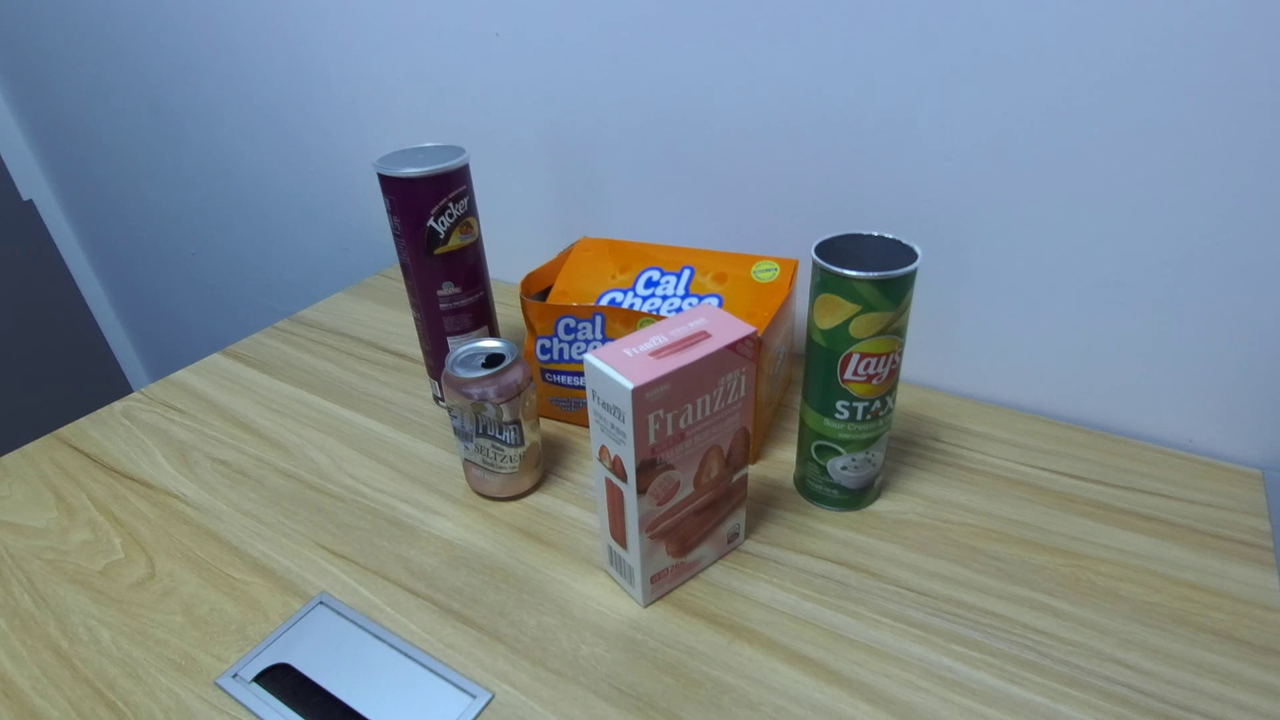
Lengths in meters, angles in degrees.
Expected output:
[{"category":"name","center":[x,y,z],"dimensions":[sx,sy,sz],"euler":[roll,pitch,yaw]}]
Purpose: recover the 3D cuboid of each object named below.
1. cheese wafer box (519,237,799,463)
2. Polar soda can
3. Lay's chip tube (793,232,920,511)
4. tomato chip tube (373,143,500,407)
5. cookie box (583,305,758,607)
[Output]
[{"category":"cheese wafer box","center":[0.017,-0.017,0.647],"dimensions":[0.229,0.132,0.152],"euler":[11,37,21]},{"category":"Polar soda can","center":[-0.114,0.050,0.564],"dimensions":[0.067,0.122,0.074],"euler":[-15,31,-16]},{"category":"Lay's chip tube","center":[0.153,0.013,0.511],"dimensions":[0.071,0.203,0.071],"euler":[-3,33,2]},{"category":"tomato chip tube","center":[-0.177,-0.070,0.651],"dimensions":[0.078,0.234,0.078],"euler":[-2,31,2]},{"category":"cookie box","center":[0.023,0.066,0.460],"dimensions":[0.096,0.185,0.048],"euler":[-24,39,-29]}]
